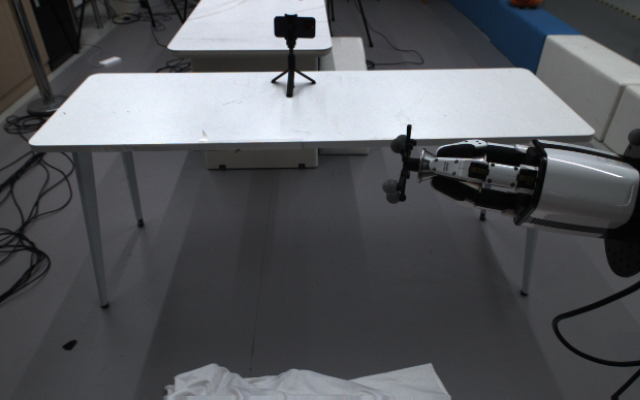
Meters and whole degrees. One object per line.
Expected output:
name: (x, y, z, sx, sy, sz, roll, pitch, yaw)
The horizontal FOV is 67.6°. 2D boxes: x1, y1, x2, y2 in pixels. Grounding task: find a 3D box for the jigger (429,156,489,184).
jigger: (0.152, -0.038, 0.536, 0.071, 0.043, 0.043, 8, 35, 16)
